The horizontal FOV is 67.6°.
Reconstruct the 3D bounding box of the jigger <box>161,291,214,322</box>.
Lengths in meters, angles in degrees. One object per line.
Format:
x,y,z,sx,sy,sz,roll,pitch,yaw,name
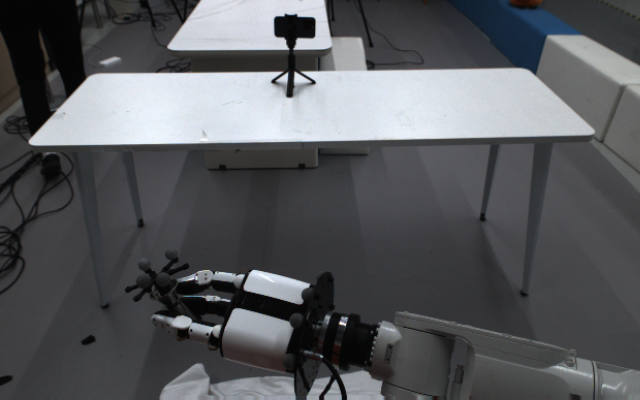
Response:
-0.191,0.144,0.656,0.043,0.071,0.043,-20,24,9,jigger
